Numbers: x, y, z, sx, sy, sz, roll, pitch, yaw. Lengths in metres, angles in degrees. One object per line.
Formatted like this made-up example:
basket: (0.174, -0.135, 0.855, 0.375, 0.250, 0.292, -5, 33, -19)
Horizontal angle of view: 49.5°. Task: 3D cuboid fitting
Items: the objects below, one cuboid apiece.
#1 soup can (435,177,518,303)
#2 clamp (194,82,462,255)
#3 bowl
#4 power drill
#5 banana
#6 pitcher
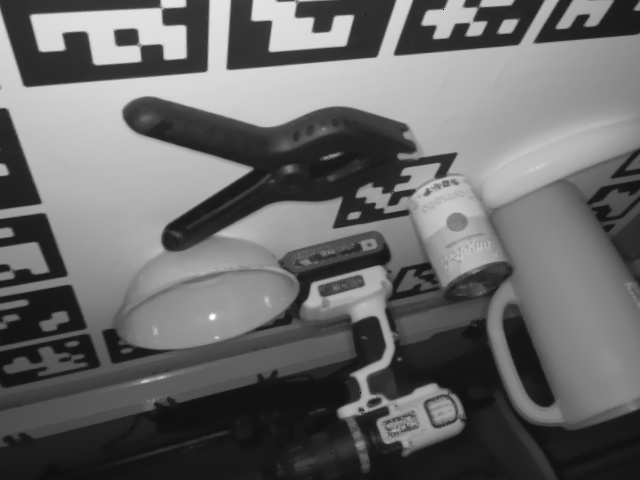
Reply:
soup can: (0.157, 0.000, 0.656, 0.068, 0.102, 0.067, -15, 157, -6)
clamp: (0.010, -0.060, 0.519, 0.205, 0.037, 0.163, -11, 144, -16)
bowl: (-0.070, 0.041, 0.624, 0.163, 0.055, 0.160, -16, 148, -9)
power drill: (0.048, 0.124, 0.663, 0.186, 0.187, 0.057, -11, 148, -14)
banana: (0.272, -0.074, 0.673, 0.197, 0.039, 0.074, -21, 158, 4)
pitcher: (0.282, 0.073, 0.708, 0.189, 0.243, 0.133, -22, 153, 3)
